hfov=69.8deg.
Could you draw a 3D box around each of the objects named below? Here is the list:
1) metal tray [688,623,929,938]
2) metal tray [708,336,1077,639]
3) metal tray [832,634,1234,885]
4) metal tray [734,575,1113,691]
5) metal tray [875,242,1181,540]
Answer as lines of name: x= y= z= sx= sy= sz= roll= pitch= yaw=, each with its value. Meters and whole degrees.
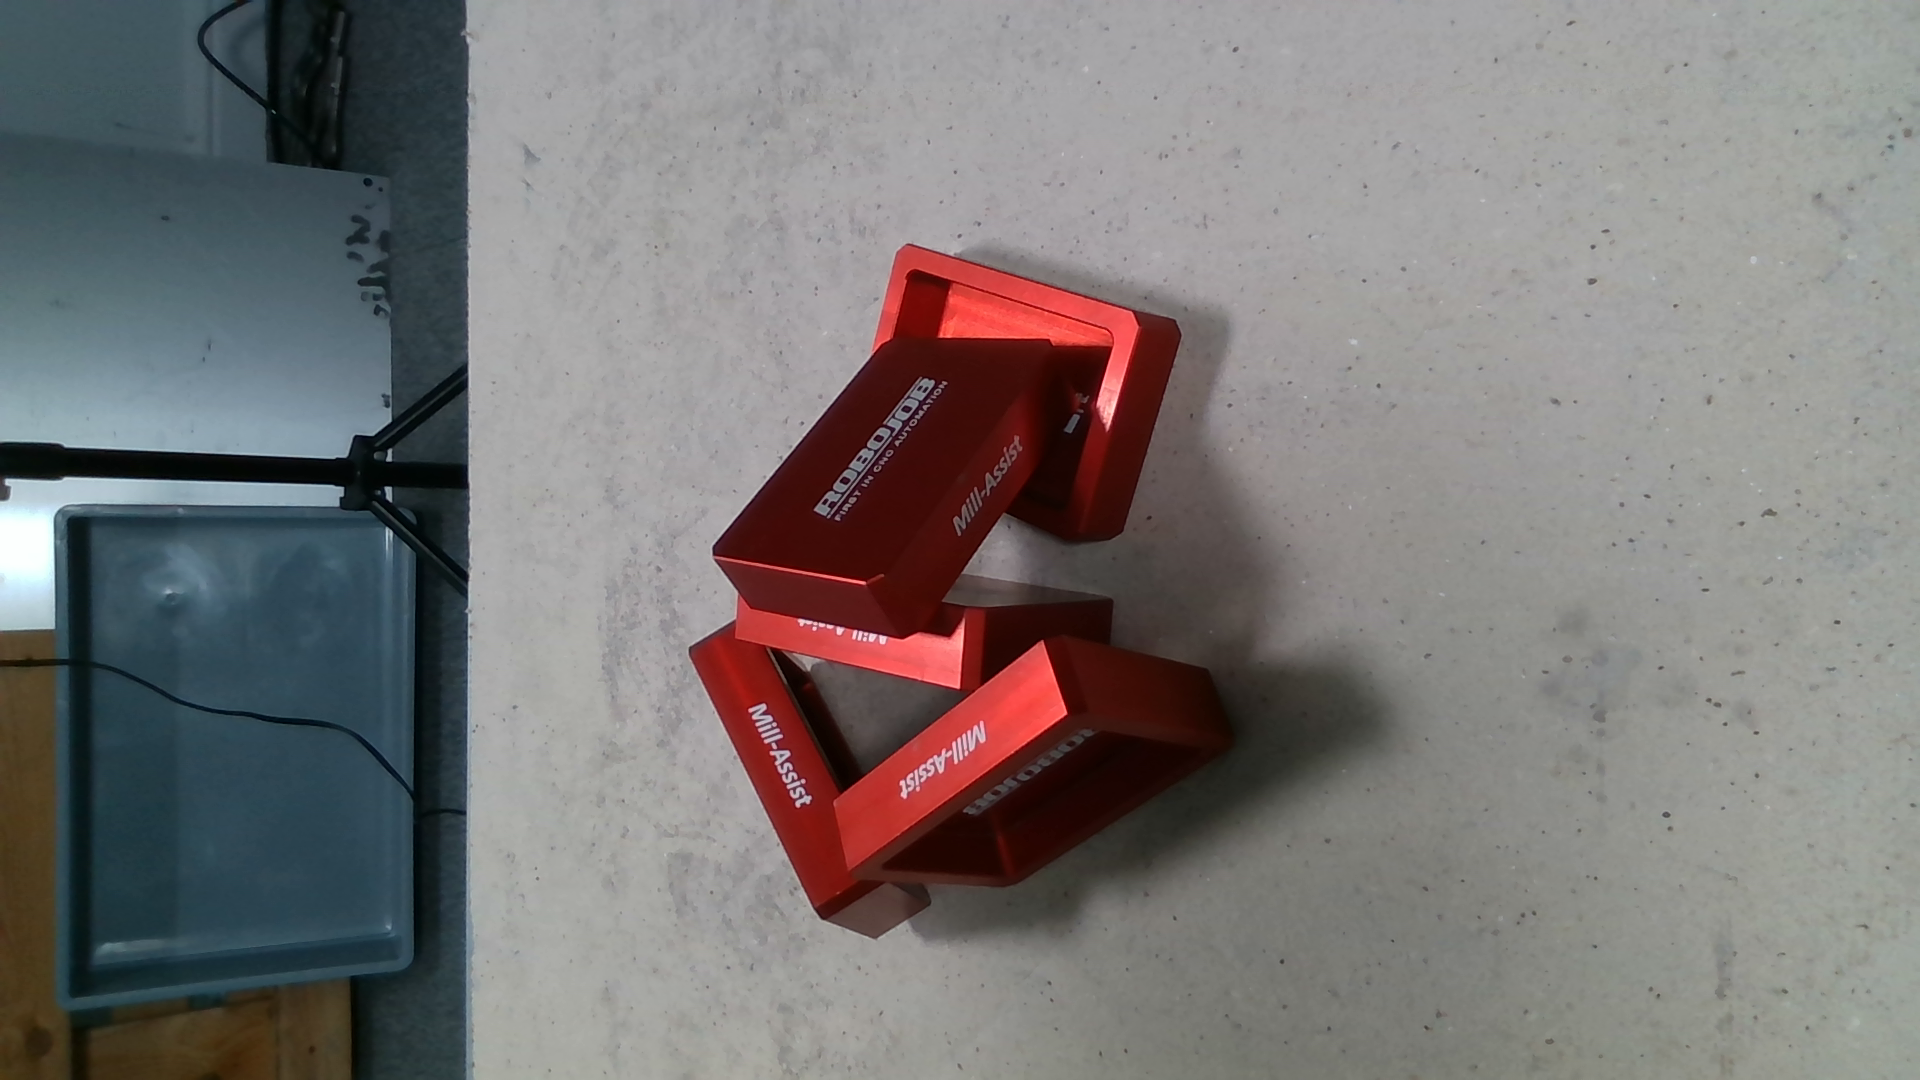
metal tray: x=-0.065 y=0.103 z=0.595 sx=0.030 sy=0.090 sz=0.130 roll=-31 pitch=66 yaw=-1
metal tray: x=-0.025 y=-0.025 z=0.529 sx=0.090 sy=0.030 sz=0.130 roll=8 pitch=51 yaw=40
metal tray: x=0.026 y=0.087 z=0.516 sx=0.130 sy=0.090 sz=0.030 roll=-41 pitch=51 yaw=33
metal tray: x=-0.016 y=0.031 z=0.554 sx=0.130 sy=0.090 sz=0.030 roll=8 pitch=95 yaw=40
metal tray: x=0.018 y=-0.063 z=0.563 sx=0.130 sy=0.030 sz=0.090 roll=25 pitch=106 yaw=37
